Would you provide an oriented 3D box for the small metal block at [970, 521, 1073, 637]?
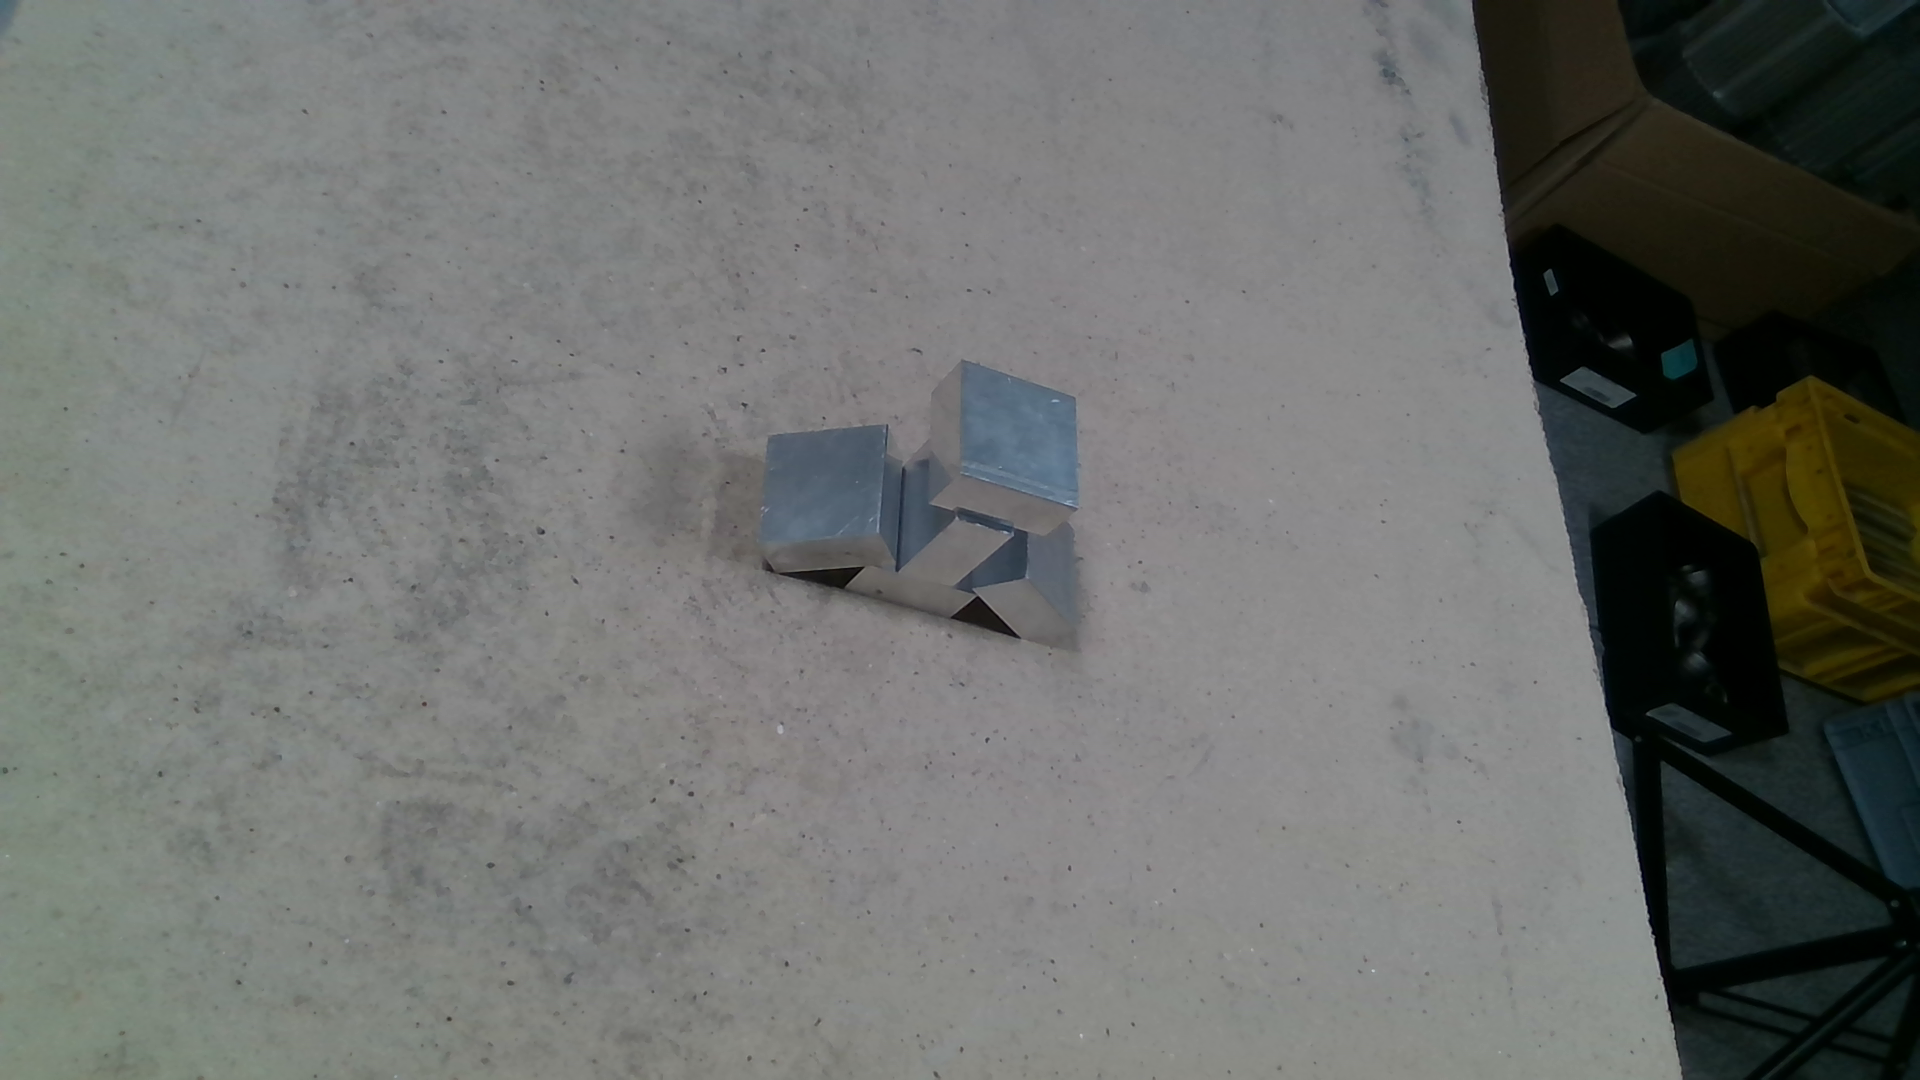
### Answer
[{"bbox_3d":[0.027,0.007,0.584,0.050,0.025,0.050,47,38,-51],"label":"small metal block"}]

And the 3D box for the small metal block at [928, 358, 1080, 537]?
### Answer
[{"bbox_3d":[0.016,-0.034,0.518,0.050,0.025,0.050,15,58,-24],"label":"small metal block"}]

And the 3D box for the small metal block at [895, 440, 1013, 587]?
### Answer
[{"bbox_3d":[-0.002,-0.017,0.545,0.025,0.050,0.050,16,58,-24],"label":"small metal block"}]

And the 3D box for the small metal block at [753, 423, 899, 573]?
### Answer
[{"bbox_3d":[-0.052,-0.017,0.547,0.050,0.025,0.050,-4,60,11],"label":"small metal block"}]

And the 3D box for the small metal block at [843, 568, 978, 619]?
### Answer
[{"bbox_3d":[-0.020,0.000,0.575,0.050,0.025,0.050,17,58,-24],"label":"small metal block"}]
